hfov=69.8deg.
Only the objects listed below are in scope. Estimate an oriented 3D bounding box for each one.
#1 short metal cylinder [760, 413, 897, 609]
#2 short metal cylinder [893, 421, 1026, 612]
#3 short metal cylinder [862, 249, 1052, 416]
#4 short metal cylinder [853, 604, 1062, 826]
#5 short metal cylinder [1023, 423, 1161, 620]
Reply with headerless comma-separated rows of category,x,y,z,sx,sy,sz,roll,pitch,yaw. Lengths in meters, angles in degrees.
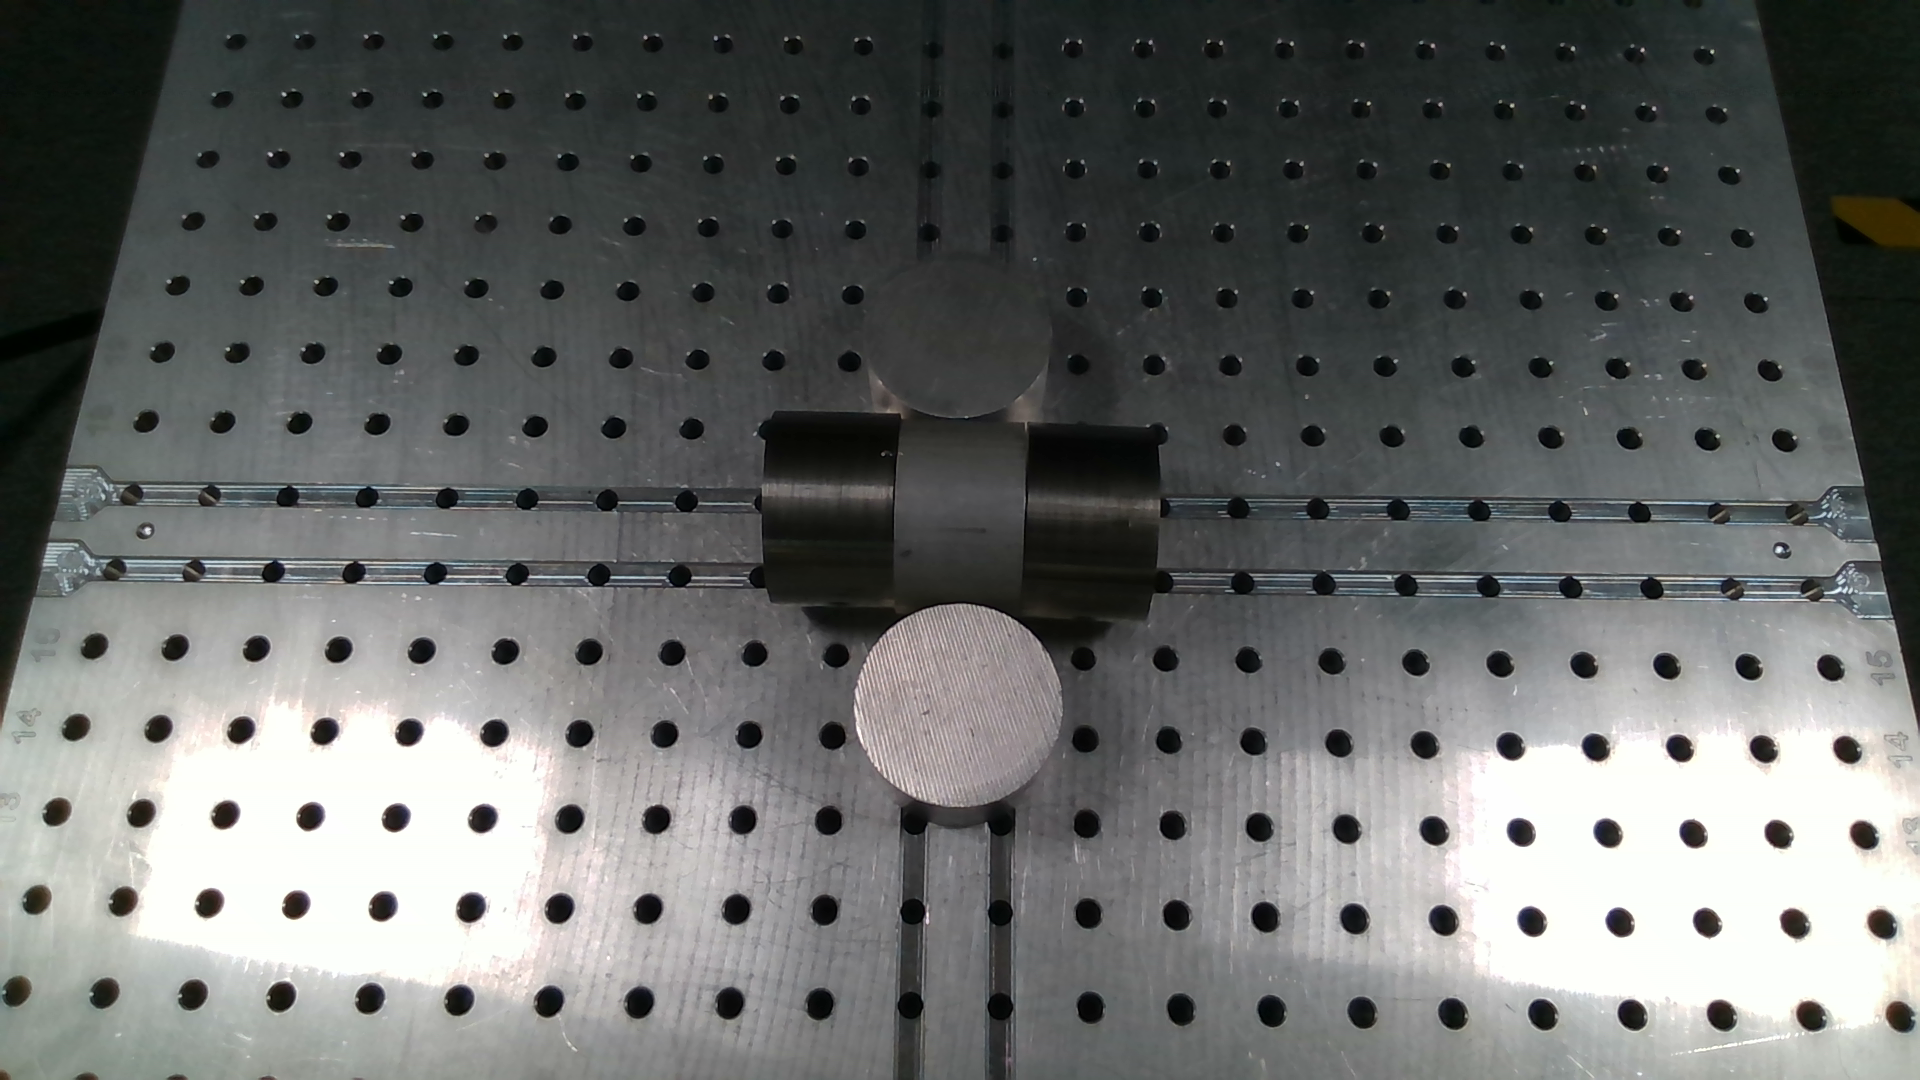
short metal cylinder,-0.051,-0.012,0.565,0.050,0.080,0.080,1,70,0
short metal cylinder,0.000,-0.009,0.564,0.050,0.080,0.080,2,70,1
short metal cylinder,-0.001,-0.080,0.605,0.080,0.050,0.080,0,70,0
short metal cylinder,-0.001,0.071,0.551,0.080,0.050,0.080,0,70,0
short metal cylinder,0.052,-0.007,0.563,0.050,0.080,0.080,2,70,1
